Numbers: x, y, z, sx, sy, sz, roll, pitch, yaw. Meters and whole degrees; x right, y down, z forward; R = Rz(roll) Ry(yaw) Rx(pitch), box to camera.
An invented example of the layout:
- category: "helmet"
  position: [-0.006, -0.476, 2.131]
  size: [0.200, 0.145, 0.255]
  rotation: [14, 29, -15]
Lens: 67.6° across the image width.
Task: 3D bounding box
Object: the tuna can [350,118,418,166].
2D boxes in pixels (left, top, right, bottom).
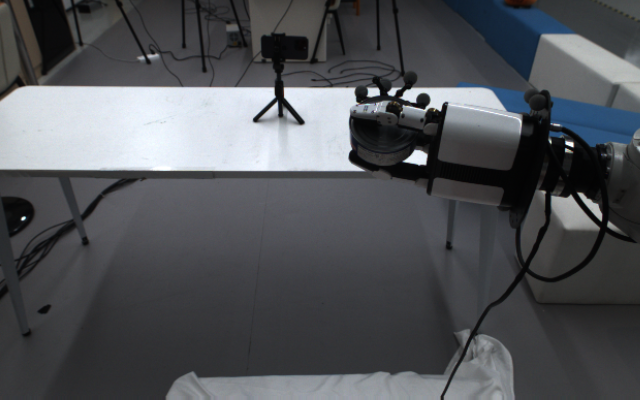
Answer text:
- category: "tuna can"
  position: [0.079, -0.089, 0.592]
  size: [0.085, 0.034, 0.085]
  rotation: [-2, 57, 4]
